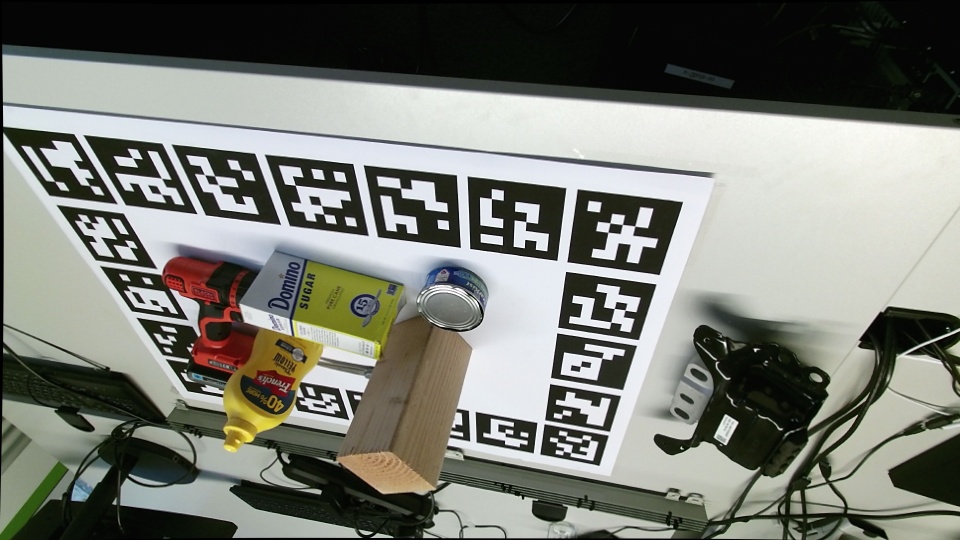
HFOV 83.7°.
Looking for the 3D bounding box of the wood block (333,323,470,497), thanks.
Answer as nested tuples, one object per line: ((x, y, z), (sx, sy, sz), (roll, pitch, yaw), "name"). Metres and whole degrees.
((-0.091, 0.172, 0.691), (0.091, 0.205, 0.090), (-16, 124, 26), "wood block")

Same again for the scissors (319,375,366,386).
((-0.155, 0.181, 0.831), (0.203, 0.016, 0.088), (9, 136, 6), "scissors")

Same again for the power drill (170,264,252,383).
((-0.342, 0.087, 0.767), (0.185, 0.057, 0.187), (17, 126, -1), "power drill")

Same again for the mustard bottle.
((-0.306, 0.169, 0.752), (0.058, 0.191, 0.096), (-28, 118, 32), "mustard bottle")

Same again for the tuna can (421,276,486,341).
((-0.036, 0.049, 0.667), (0.086, 0.033, 0.086), (8, 131, 9), "tuna can")

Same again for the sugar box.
((-0.204, 0.050, 0.678), (0.177, 0.092, 0.045), (17, 136, 1), "sugar box")
